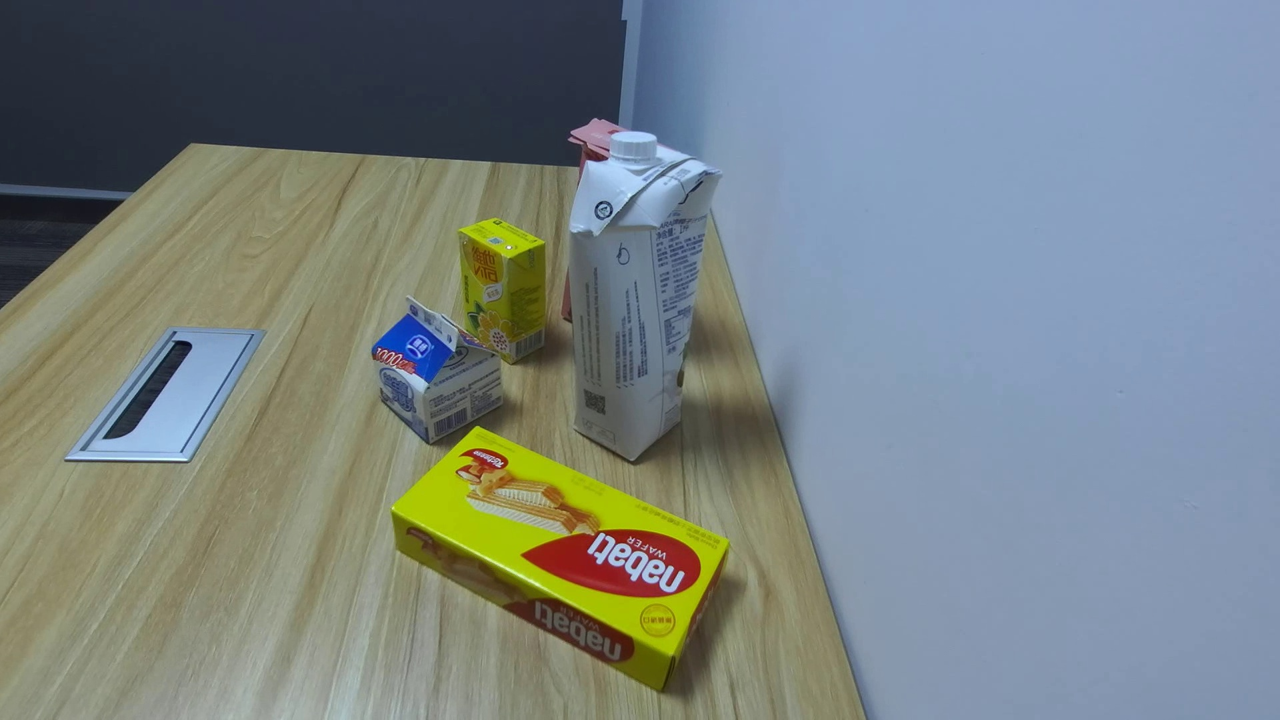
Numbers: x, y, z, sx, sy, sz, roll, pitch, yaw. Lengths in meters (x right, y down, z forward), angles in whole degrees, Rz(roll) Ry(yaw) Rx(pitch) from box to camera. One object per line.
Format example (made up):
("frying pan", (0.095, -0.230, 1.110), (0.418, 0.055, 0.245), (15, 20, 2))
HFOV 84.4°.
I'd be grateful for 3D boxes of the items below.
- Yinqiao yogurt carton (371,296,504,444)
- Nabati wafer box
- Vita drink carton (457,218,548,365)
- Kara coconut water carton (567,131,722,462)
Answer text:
("Yinqiao yogurt carton", (-0.160, -0.001, 0.556), (0.075, 0.092, 0.074), (32, 45, 32))
("Nabati wafer box", (-0.052, 0.120, 0.459), (0.202, 0.042, 0.093), (22, 40, 18))
("Vita drink carton", (-0.123, -0.063, 0.622), (0.076, 0.109, 0.043), (31, 44, 29))
("Kara coconut water carton", (-0.001, -0.042, 0.508), (0.069, 0.238, 0.115), (27, 42, 27))
